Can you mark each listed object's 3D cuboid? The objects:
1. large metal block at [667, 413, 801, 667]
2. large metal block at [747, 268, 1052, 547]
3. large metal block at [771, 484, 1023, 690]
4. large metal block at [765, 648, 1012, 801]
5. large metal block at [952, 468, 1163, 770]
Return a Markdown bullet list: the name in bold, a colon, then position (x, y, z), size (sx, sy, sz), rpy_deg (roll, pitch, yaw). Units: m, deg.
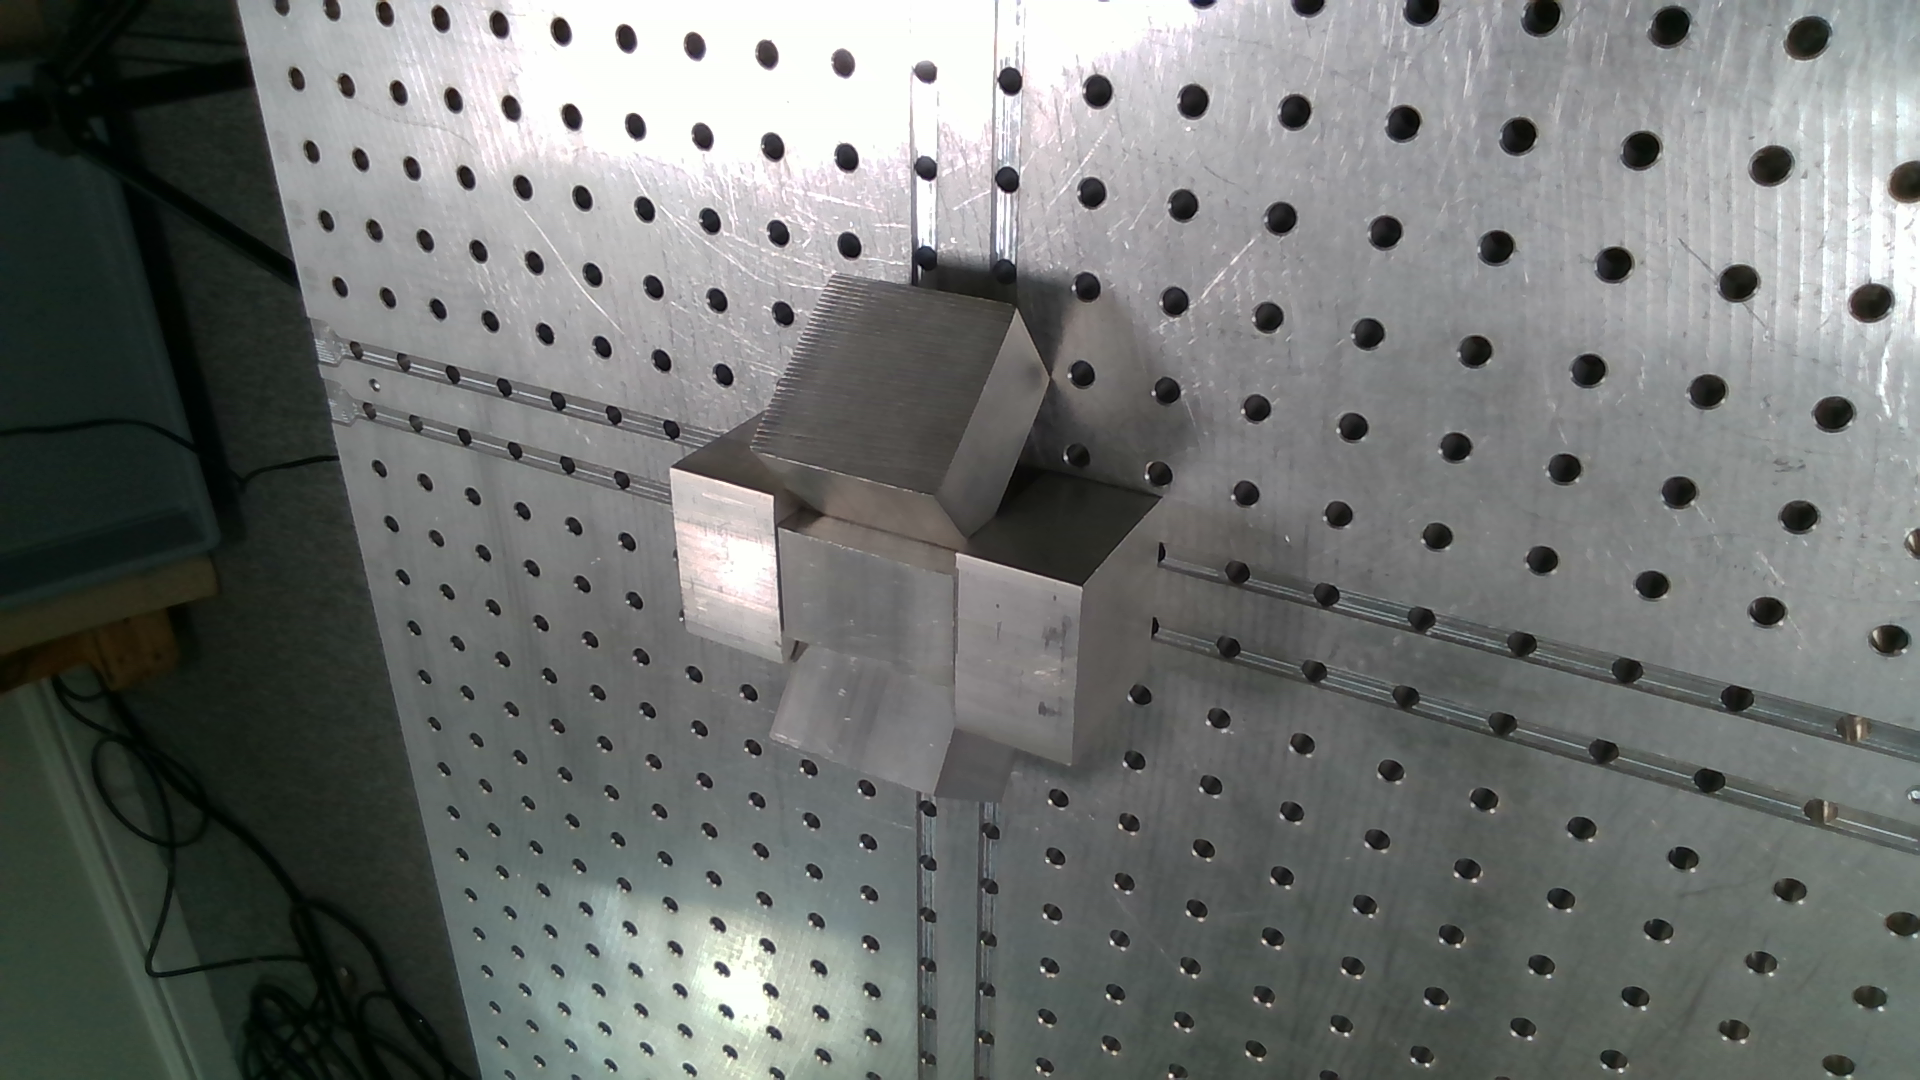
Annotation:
- **large metal block**: position (-0.076, -0.005, 0.590), size (0.050, 0.080, 0.080), rpy_deg (15, 122, 24)
- **large metal block**: position (-0.021, -0.050, 0.525), size (0.080, 0.080, 0.050), rpy_deg (15, 161, 25)
- **large metal block**: position (-0.020, 0.010, 0.563), size (0.080, 0.080, 0.050), rpy_deg (15, 122, 24)
- **large metal block**: position (-0.023, 0.074, 0.592), size (0.080, 0.080, 0.050), rpy_deg (15, 84, 24)
- **large metal block**: position (0.038, 0.029, 0.538), size (0.050, 0.080, 0.080), rpy_deg (15, 122, 24)
